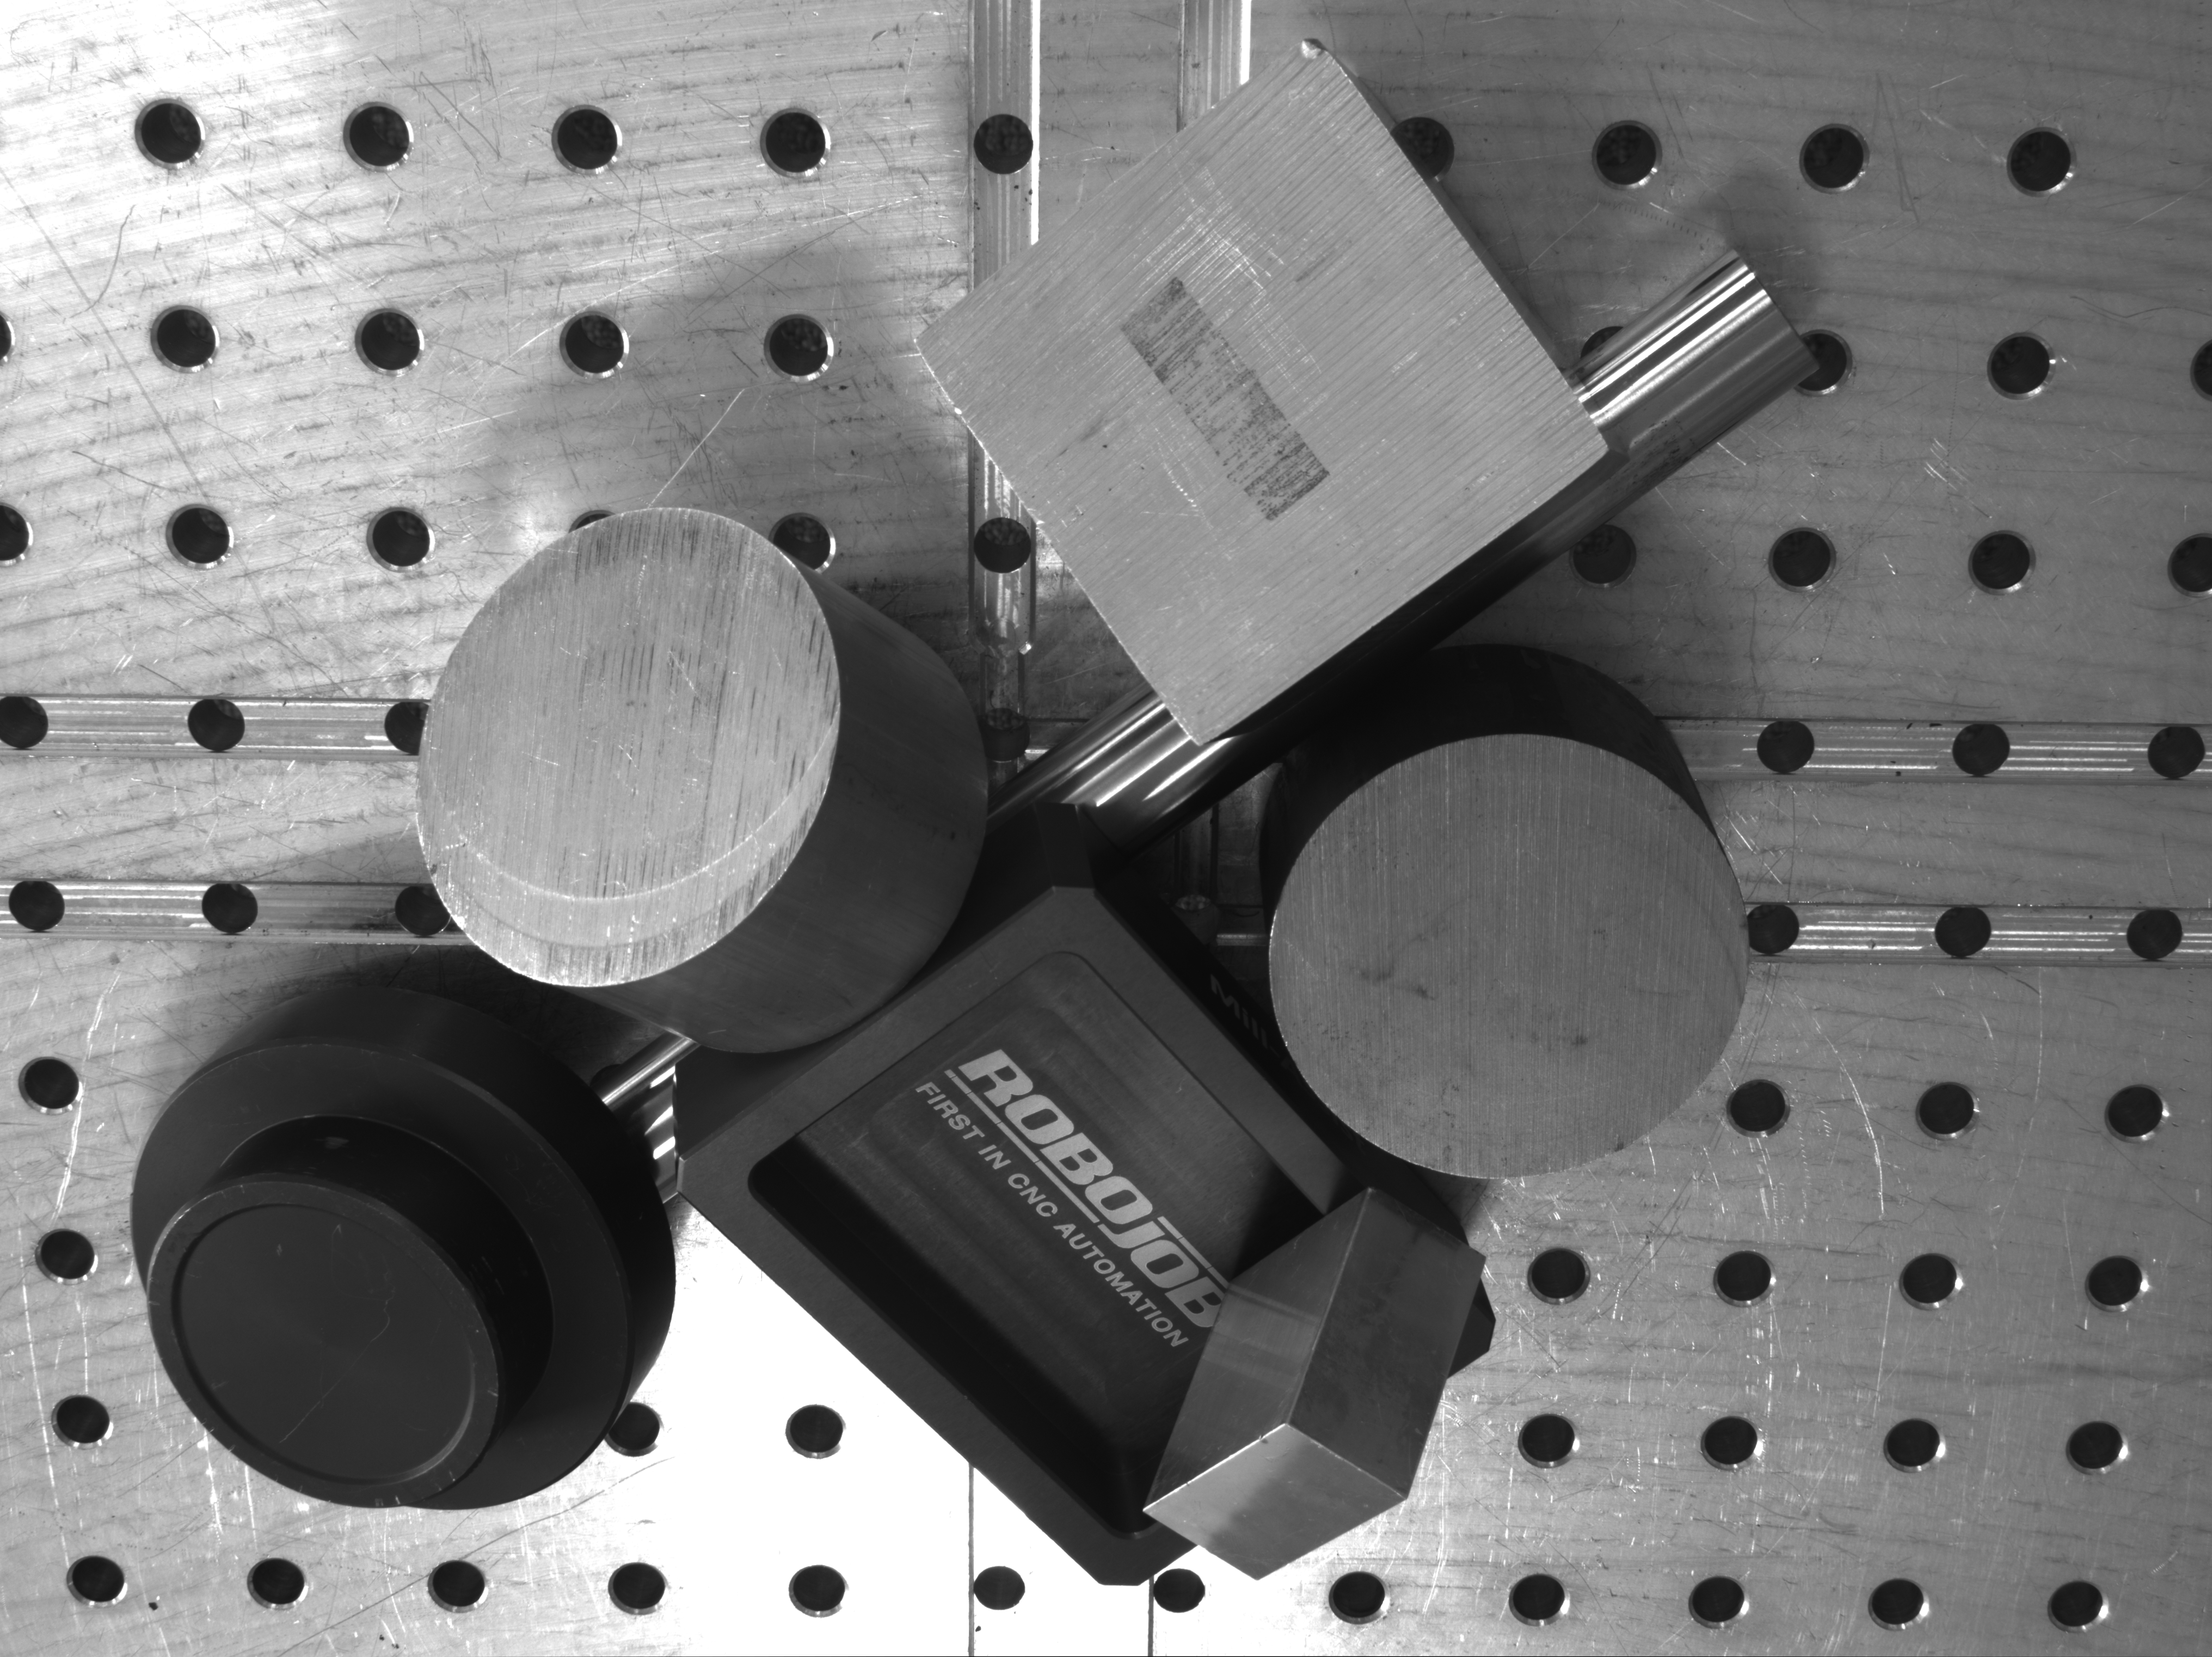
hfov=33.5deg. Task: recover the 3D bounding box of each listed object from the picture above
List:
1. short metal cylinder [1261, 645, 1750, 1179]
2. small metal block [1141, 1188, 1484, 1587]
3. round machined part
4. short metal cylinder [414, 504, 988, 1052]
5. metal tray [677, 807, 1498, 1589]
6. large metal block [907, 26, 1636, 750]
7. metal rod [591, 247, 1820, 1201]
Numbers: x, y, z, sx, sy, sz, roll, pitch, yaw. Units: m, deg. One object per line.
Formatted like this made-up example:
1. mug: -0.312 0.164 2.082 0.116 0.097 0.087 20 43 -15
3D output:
1. short metal cylinder: 0.068 0.014 0.638 0.080 0.050 0.080 0 110 0
2. small metal block: 0.036 0.097 0.638 0.025 0.050 0.050 32 142 -13
3. round machined part: -0.130 0.081 0.653 0.098 0.042 0.098 7 117 14
4. short metal cylinder: -0.067 -0.007 0.609 0.080 0.050 0.080 -8 72 24
5. metal tray: -0.003 0.069 0.654 0.090 0.030 0.130 -36 119 12
6. large metal block: 0.028 -0.070 0.596 0.080 0.050 0.080 -35 86 12
7. metal rod: -0.006 -0.001 0.648 0.300 0.025 0.025 -36 106 13
